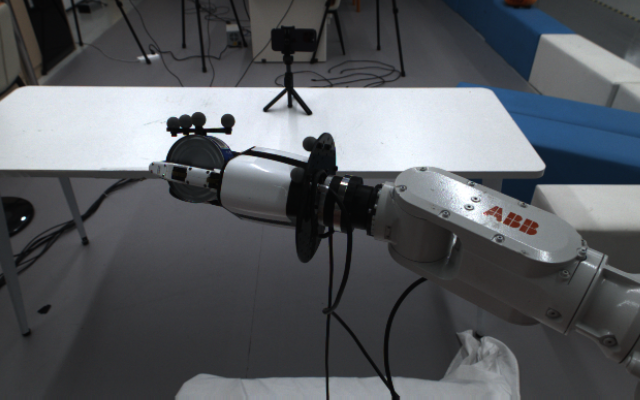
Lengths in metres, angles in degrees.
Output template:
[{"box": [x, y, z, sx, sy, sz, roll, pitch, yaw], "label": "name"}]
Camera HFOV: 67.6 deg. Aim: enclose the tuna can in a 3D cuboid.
[{"box": [-0.150, -0.040, 0.617, 0.085, 0.085, 0.034, 15, 9, 18], "label": "tuna can"}]
